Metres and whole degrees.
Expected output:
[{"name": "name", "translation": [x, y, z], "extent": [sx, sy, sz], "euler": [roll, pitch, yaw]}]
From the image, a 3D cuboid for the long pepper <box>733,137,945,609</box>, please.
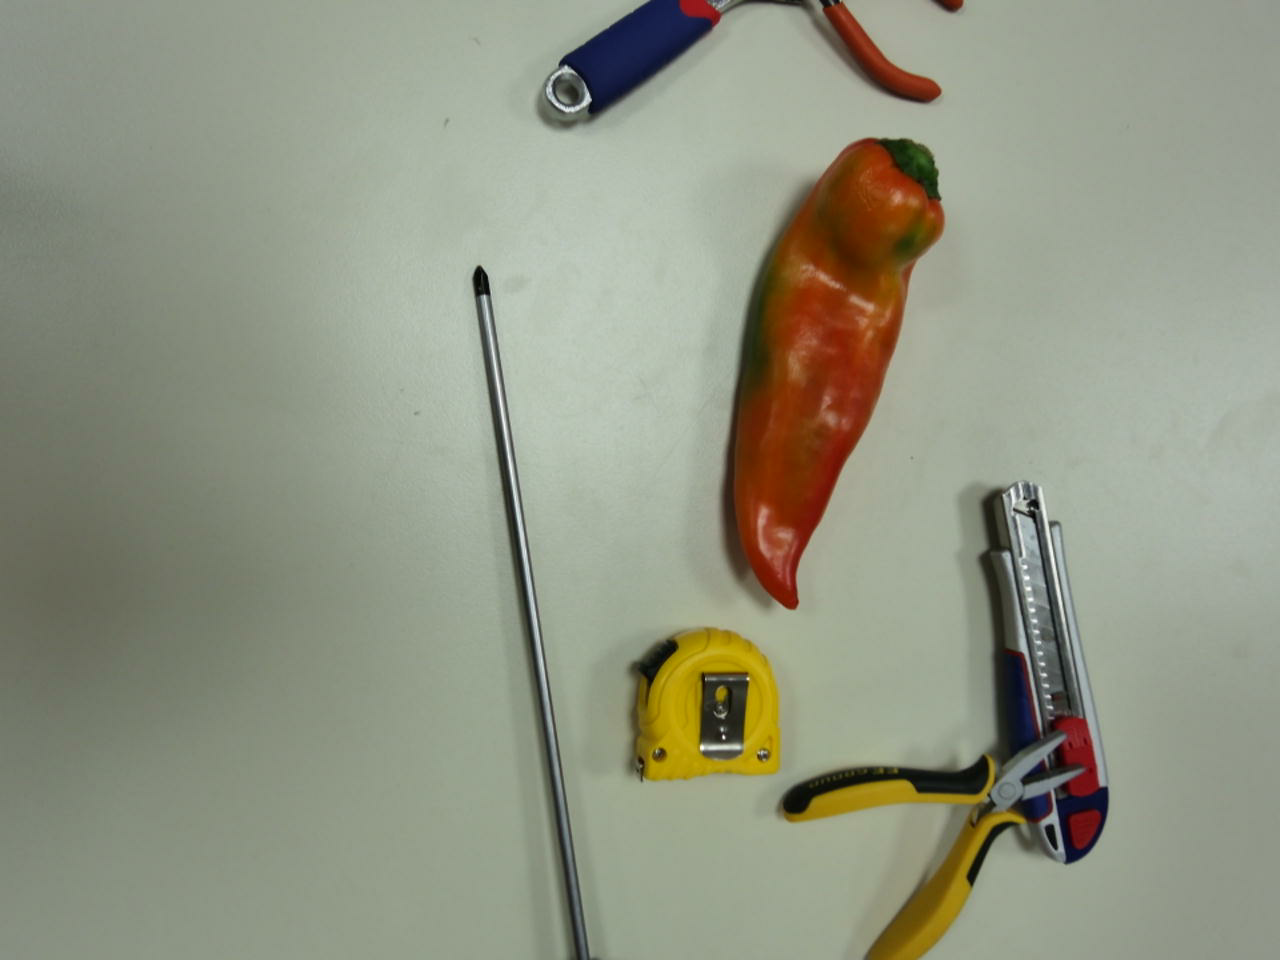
[{"name": "long pepper", "translation": [0.080, -0.045, 0.420], "extent": [0.066, 0.065, 0.199], "euler": [15, 88, -11]}]
